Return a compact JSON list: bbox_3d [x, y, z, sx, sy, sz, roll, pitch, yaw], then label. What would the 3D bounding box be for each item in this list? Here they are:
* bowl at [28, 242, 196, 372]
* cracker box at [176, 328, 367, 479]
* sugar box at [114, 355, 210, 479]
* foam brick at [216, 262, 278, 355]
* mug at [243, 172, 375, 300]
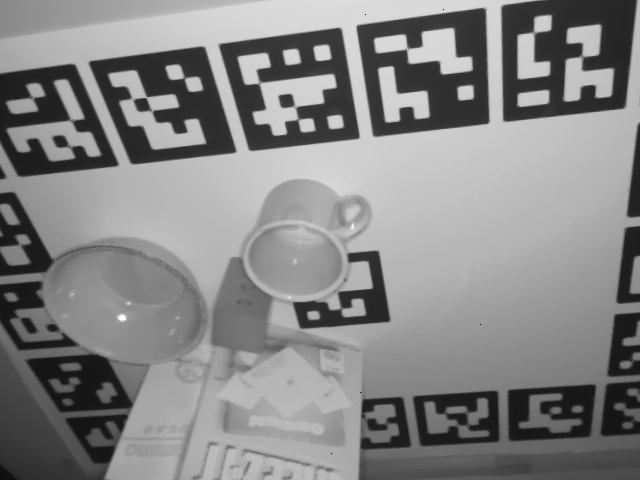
[{"bbox_3d":[-0.198,0.057,0.687,0.161,0.056,0.160,1,125,3],"label":"bowl"},{"bbox_3d":[-0.043,0.189,0.689,0.165,0.216,0.071,19,128,-8],"label":"cracker box"},{"bbox_3d":[-0.148,0.200,0.725,0.093,0.178,0.045,11,126,-4],"label":"sugar box"},{"bbox_3d":[-0.071,0.067,0.692,0.053,0.079,0.051,6,127,-1],"label":"foam brick"},{"bbox_3d":[-0.008,-0.009,0.620,0.116,0.082,0.093,-14,132,12],"label":"mug"}]
